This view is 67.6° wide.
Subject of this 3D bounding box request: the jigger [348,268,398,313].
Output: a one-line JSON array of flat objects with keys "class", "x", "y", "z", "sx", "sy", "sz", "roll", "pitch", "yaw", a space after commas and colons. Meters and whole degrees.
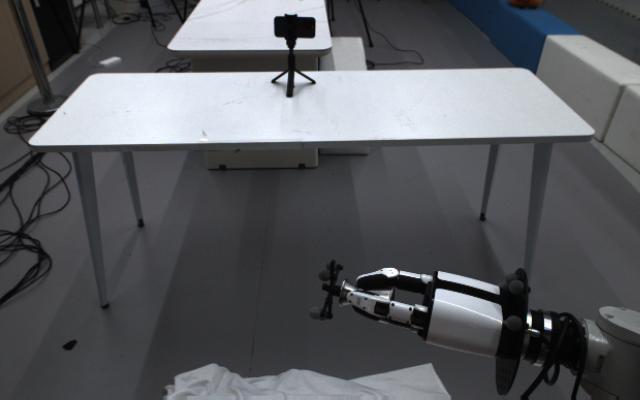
[{"class": "jigger", "x": 0.070, "y": 0.127, "z": 0.653, "sx": 0.071, "sy": 0.043, "sz": 0.043, "roll": 8, "pitch": 35, "yaw": 16}]
